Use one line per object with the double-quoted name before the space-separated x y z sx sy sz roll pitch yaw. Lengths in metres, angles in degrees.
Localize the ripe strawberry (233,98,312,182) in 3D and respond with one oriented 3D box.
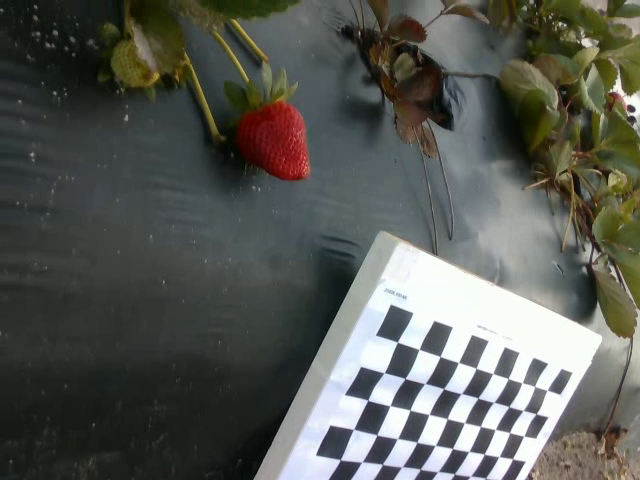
"ripe strawberry" -0.023 -0.051 0.344 0.045 0.055 0.042 -29 -30 -16
